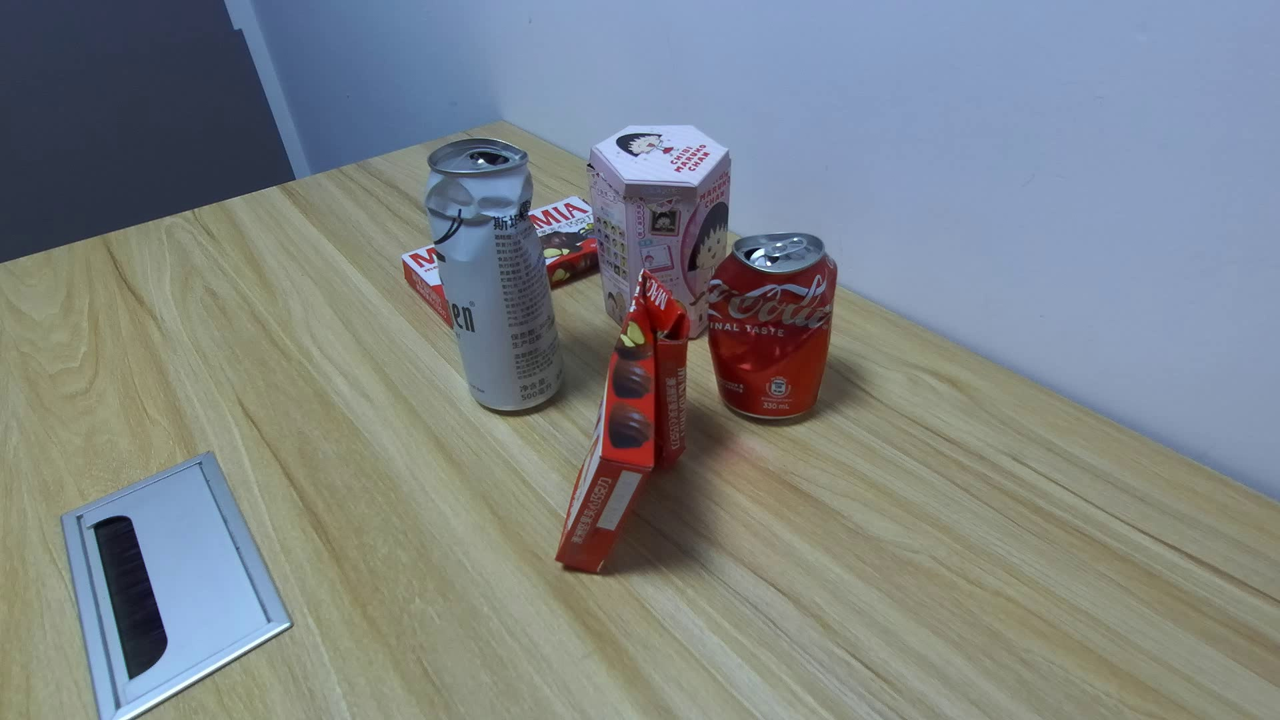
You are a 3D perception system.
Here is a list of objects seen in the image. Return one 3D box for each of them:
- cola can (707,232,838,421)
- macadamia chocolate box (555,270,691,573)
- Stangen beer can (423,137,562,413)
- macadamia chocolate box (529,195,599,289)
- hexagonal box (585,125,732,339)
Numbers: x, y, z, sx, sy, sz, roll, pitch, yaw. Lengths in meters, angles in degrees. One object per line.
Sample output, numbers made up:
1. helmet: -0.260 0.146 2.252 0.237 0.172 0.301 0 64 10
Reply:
1. cola can: 0.084 -0.020 0.434 0.069 0.112 0.066 18 42 24
2. macadamia chocolate box: -0.008 0.033 0.376 0.056 0.112 0.126 8 38 11
3. Stangen beer can: -0.086 -0.047 0.441 0.066 0.166 0.066 12 39 19
4. macadamia chocolate box: -0.097 -0.089 0.607 0.187 0.027 0.102 -28 48 -28
5. hexagonal box: 0.015 -0.090 0.510 0.084 0.135 0.092 20 43 26
